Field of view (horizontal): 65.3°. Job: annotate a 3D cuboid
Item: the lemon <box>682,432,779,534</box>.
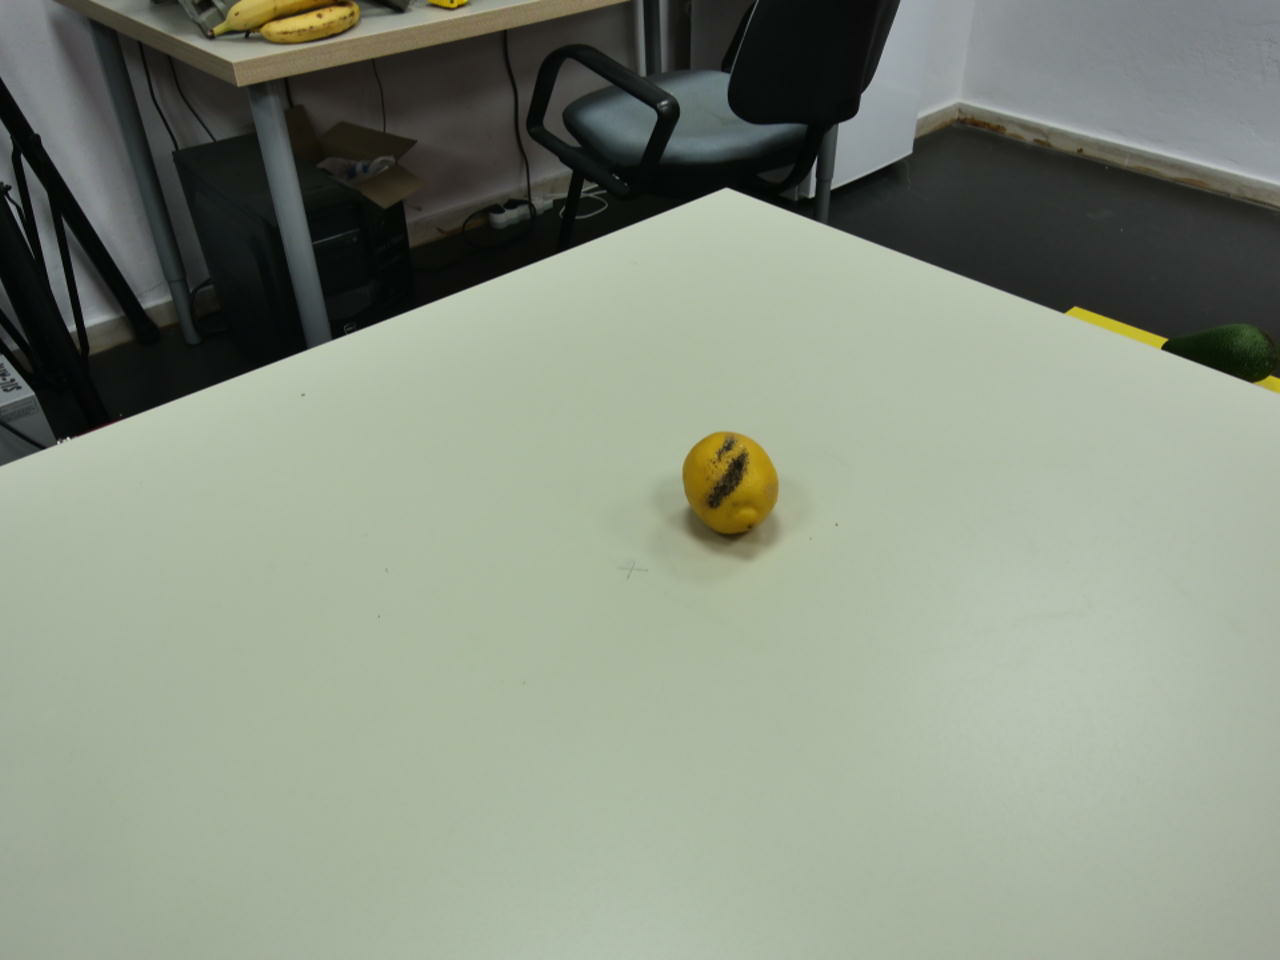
[{"bbox_3d":[0.055,0.002,0.599,0.061,0.056,0.058,28,45,32],"label":"lemon"}]
